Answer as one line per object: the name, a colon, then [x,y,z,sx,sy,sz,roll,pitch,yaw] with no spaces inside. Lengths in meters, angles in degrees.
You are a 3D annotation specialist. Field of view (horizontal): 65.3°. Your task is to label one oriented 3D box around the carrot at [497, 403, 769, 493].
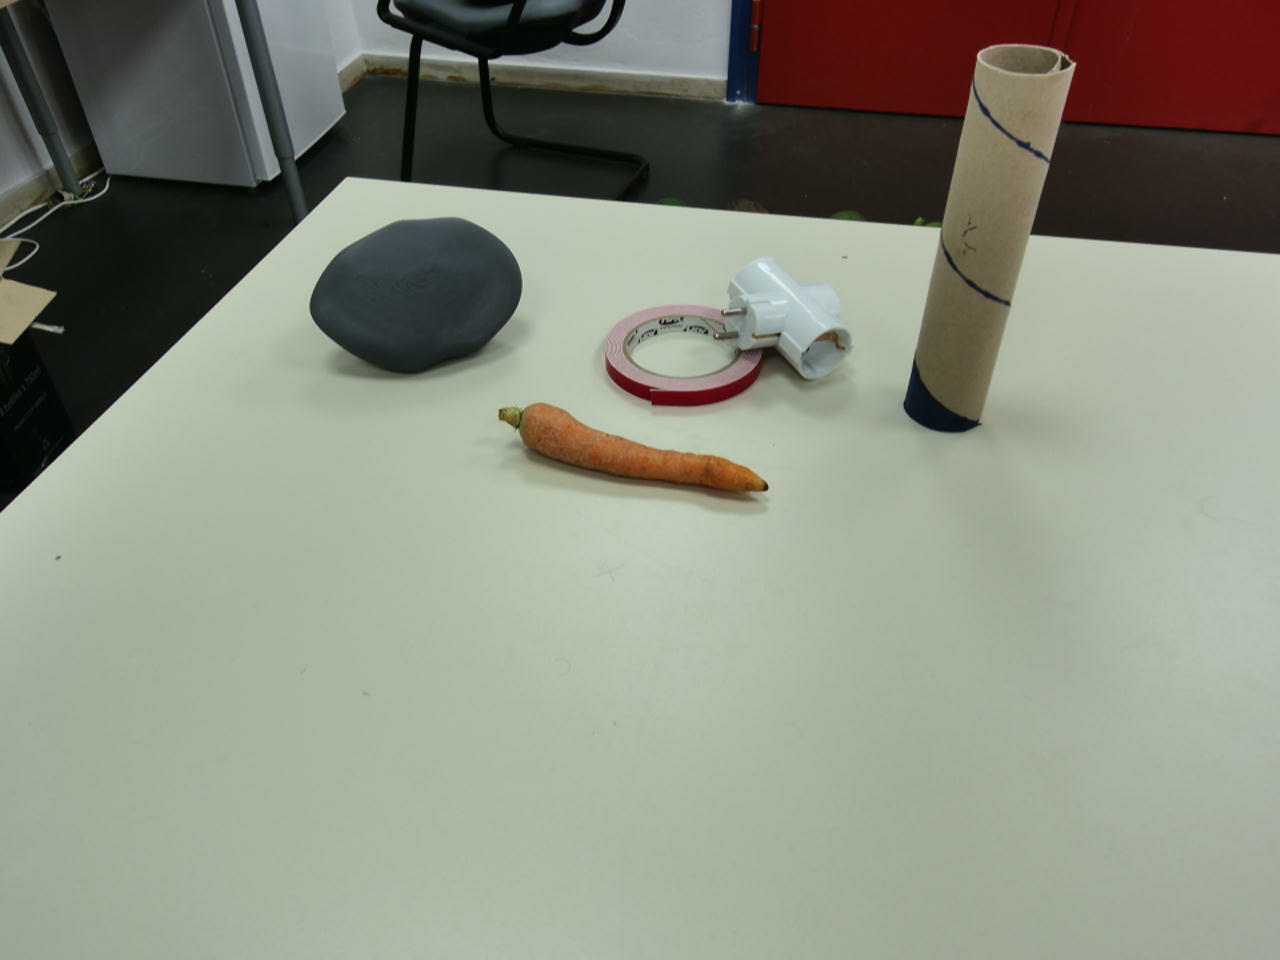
carrot: [-0.005,-0.017,0.595,0.173,0.032,0.030,14,41,17]
